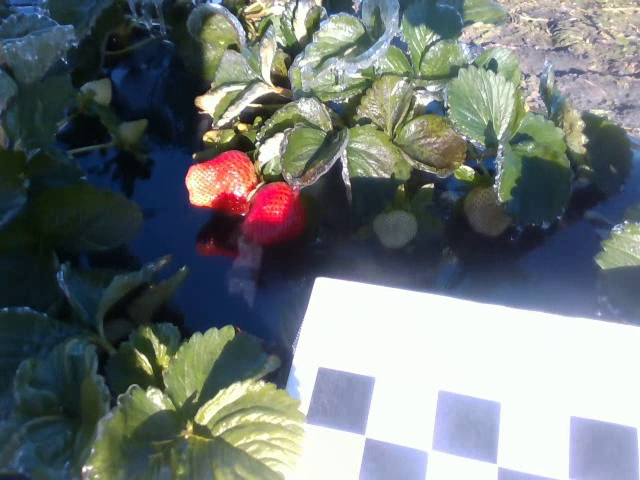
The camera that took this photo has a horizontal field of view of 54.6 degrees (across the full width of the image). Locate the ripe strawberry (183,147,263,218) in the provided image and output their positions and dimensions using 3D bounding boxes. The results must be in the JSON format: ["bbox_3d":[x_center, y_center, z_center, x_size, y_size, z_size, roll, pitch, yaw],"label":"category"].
[{"bbox_3d":[-0.077,-0.043,0.473,0.069,0.053,0.040,-26,-27,-17],"label":"ripe strawberry"}]

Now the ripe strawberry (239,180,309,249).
[{"bbox_3d":[-0.037,-0.023,0.442,0.043,0.059,0.040,7,-37,14],"label":"ripe strawberry"}]
